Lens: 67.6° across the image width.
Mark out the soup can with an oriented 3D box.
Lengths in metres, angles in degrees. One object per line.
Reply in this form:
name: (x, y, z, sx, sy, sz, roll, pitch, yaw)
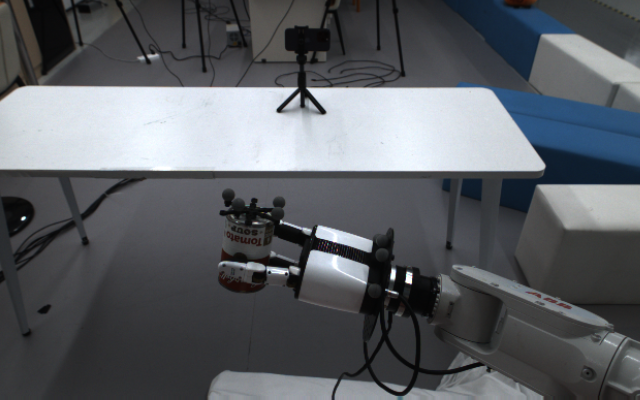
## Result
soup can: (-0.098, 0.066, 0.660, 0.067, 0.101, 0.067, 9, 20, -3)
